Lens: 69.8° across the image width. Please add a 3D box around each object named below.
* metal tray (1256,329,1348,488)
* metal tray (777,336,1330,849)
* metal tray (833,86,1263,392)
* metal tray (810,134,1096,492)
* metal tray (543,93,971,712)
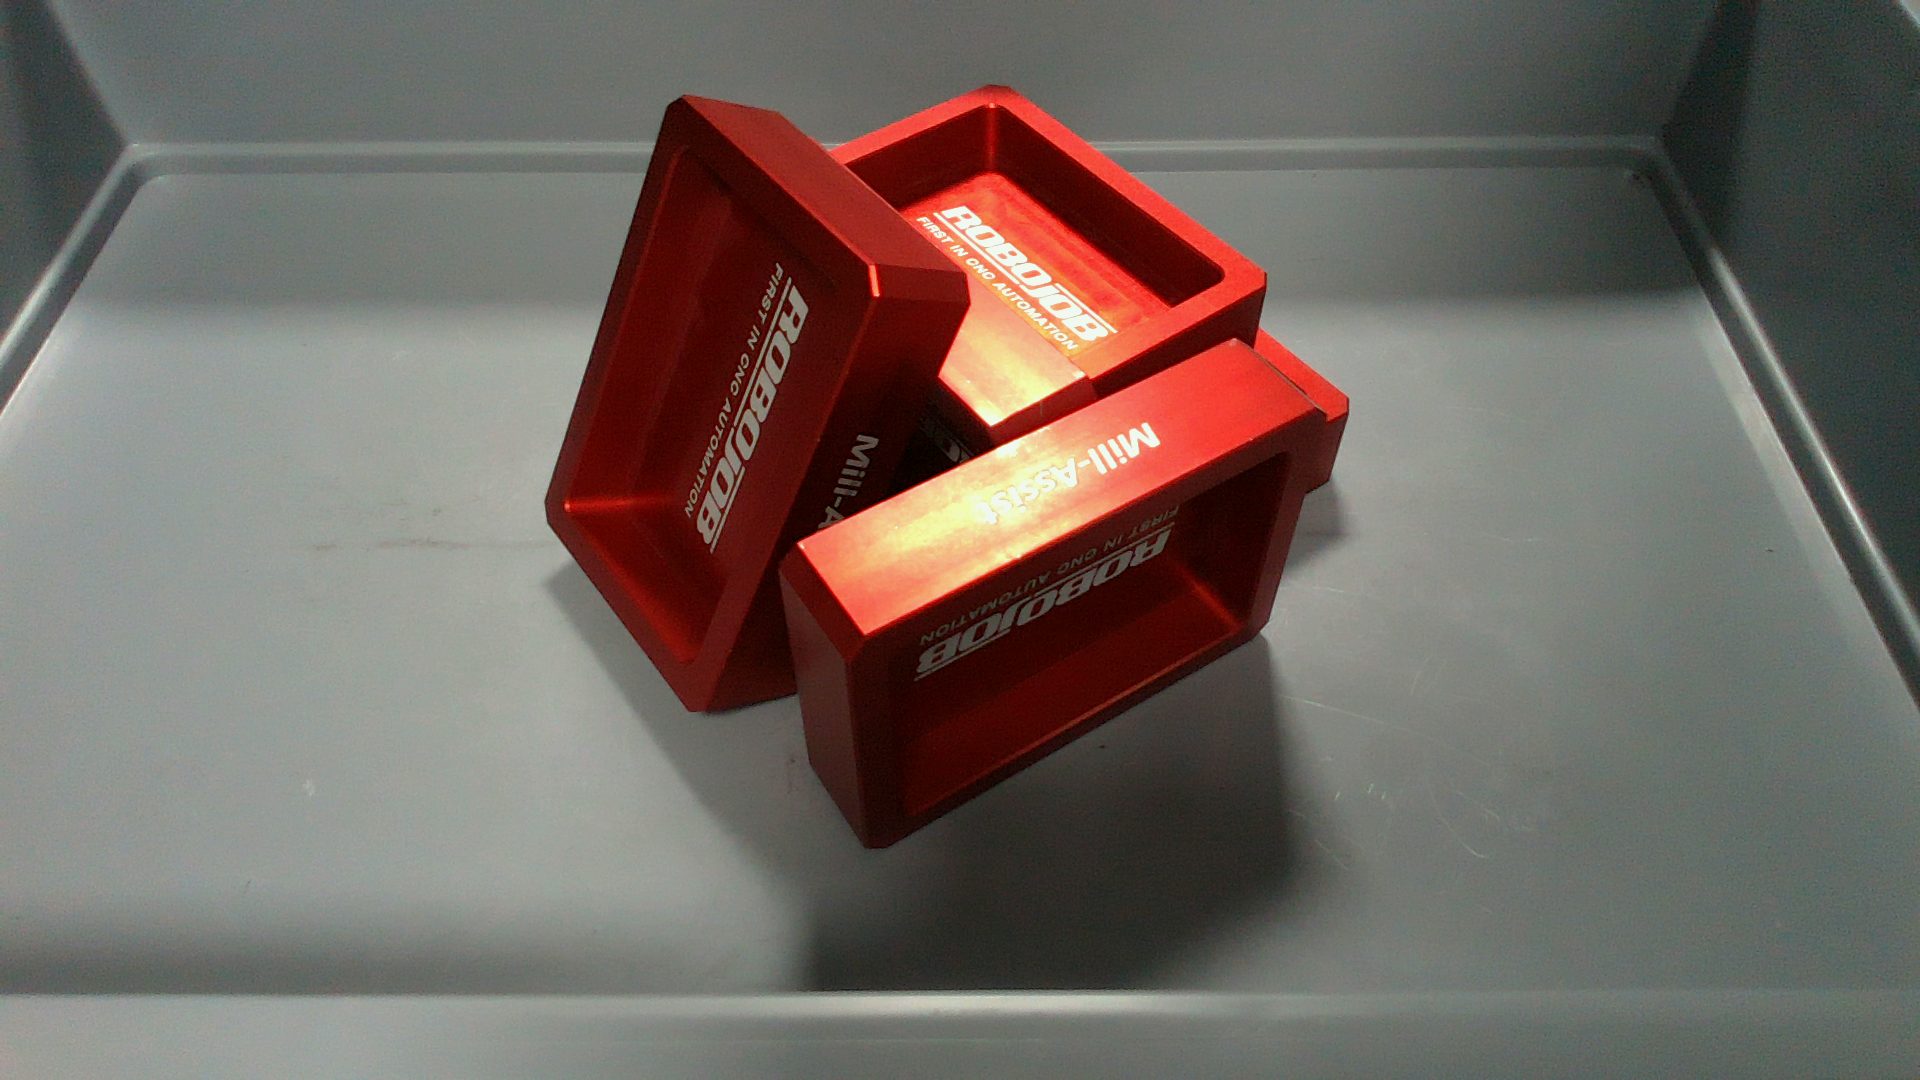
[{"bbox_3d":[0.043,-0.051,0.431,0.090,0.030,0.130,-28,54,-20],"label":"metal tray"},{"bbox_3d":[0.024,0.014,0.336,0.130,0.090,0.030,-26,54,-20],"label":"metal tray"},{"bbox_3d":[0.015,-0.083,0.417,0.090,0.030,0.130,-30,55,-22],"label":"metal tray"},{"bbox_3d":[-0.017,-0.041,0.381,0.030,0.090,0.130,-30,56,-22],"label":"metal tray"},{"bbox_3d":[-0.058,-0.033,0.351,0.030,0.130,0.090,-6,42,-46],"label":"metal tray"}]
